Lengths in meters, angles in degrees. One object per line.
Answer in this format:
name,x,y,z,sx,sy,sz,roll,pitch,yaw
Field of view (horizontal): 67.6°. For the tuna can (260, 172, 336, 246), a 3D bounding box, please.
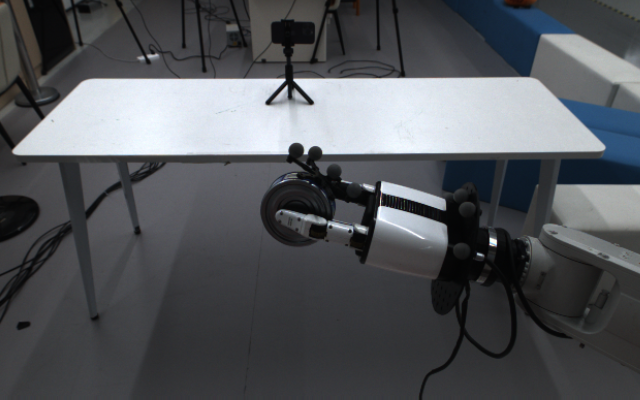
tuna can,-0.022,0.017,0.567,0.085,0.085,0.034,7,19,6
